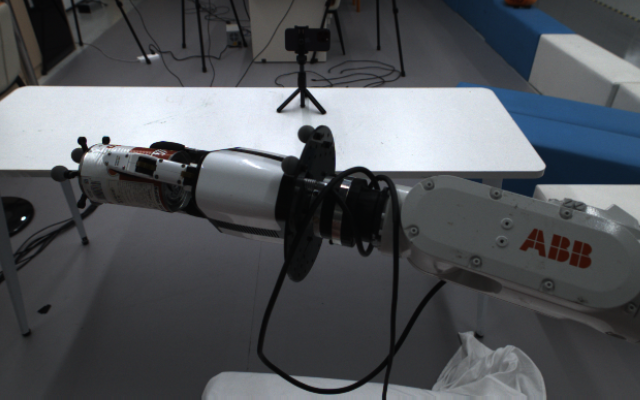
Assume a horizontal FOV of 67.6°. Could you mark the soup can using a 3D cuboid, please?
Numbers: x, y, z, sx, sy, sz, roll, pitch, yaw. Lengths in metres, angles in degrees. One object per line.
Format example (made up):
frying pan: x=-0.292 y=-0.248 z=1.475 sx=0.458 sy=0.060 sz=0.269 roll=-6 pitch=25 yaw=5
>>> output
soup can: x=-0.198 y=-0.024 z=0.533 sx=0.101 sy=0.067 sz=0.067 roll=6 pitch=35 yaw=11
